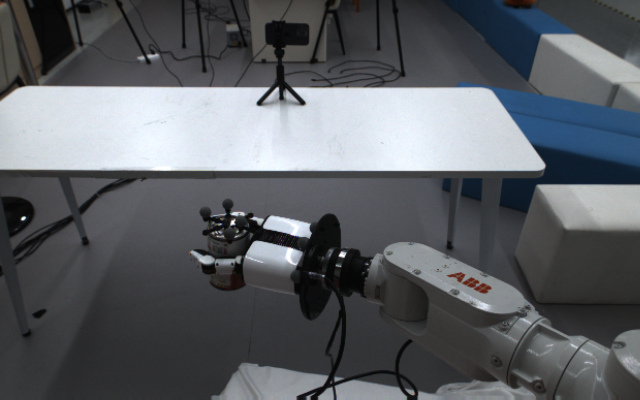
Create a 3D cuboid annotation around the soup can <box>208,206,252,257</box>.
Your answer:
[{"bbox_3d":[-0.144,0.086,0.766,0.067,0.101,0.067,4,31,-2],"label":"soup can"}]
